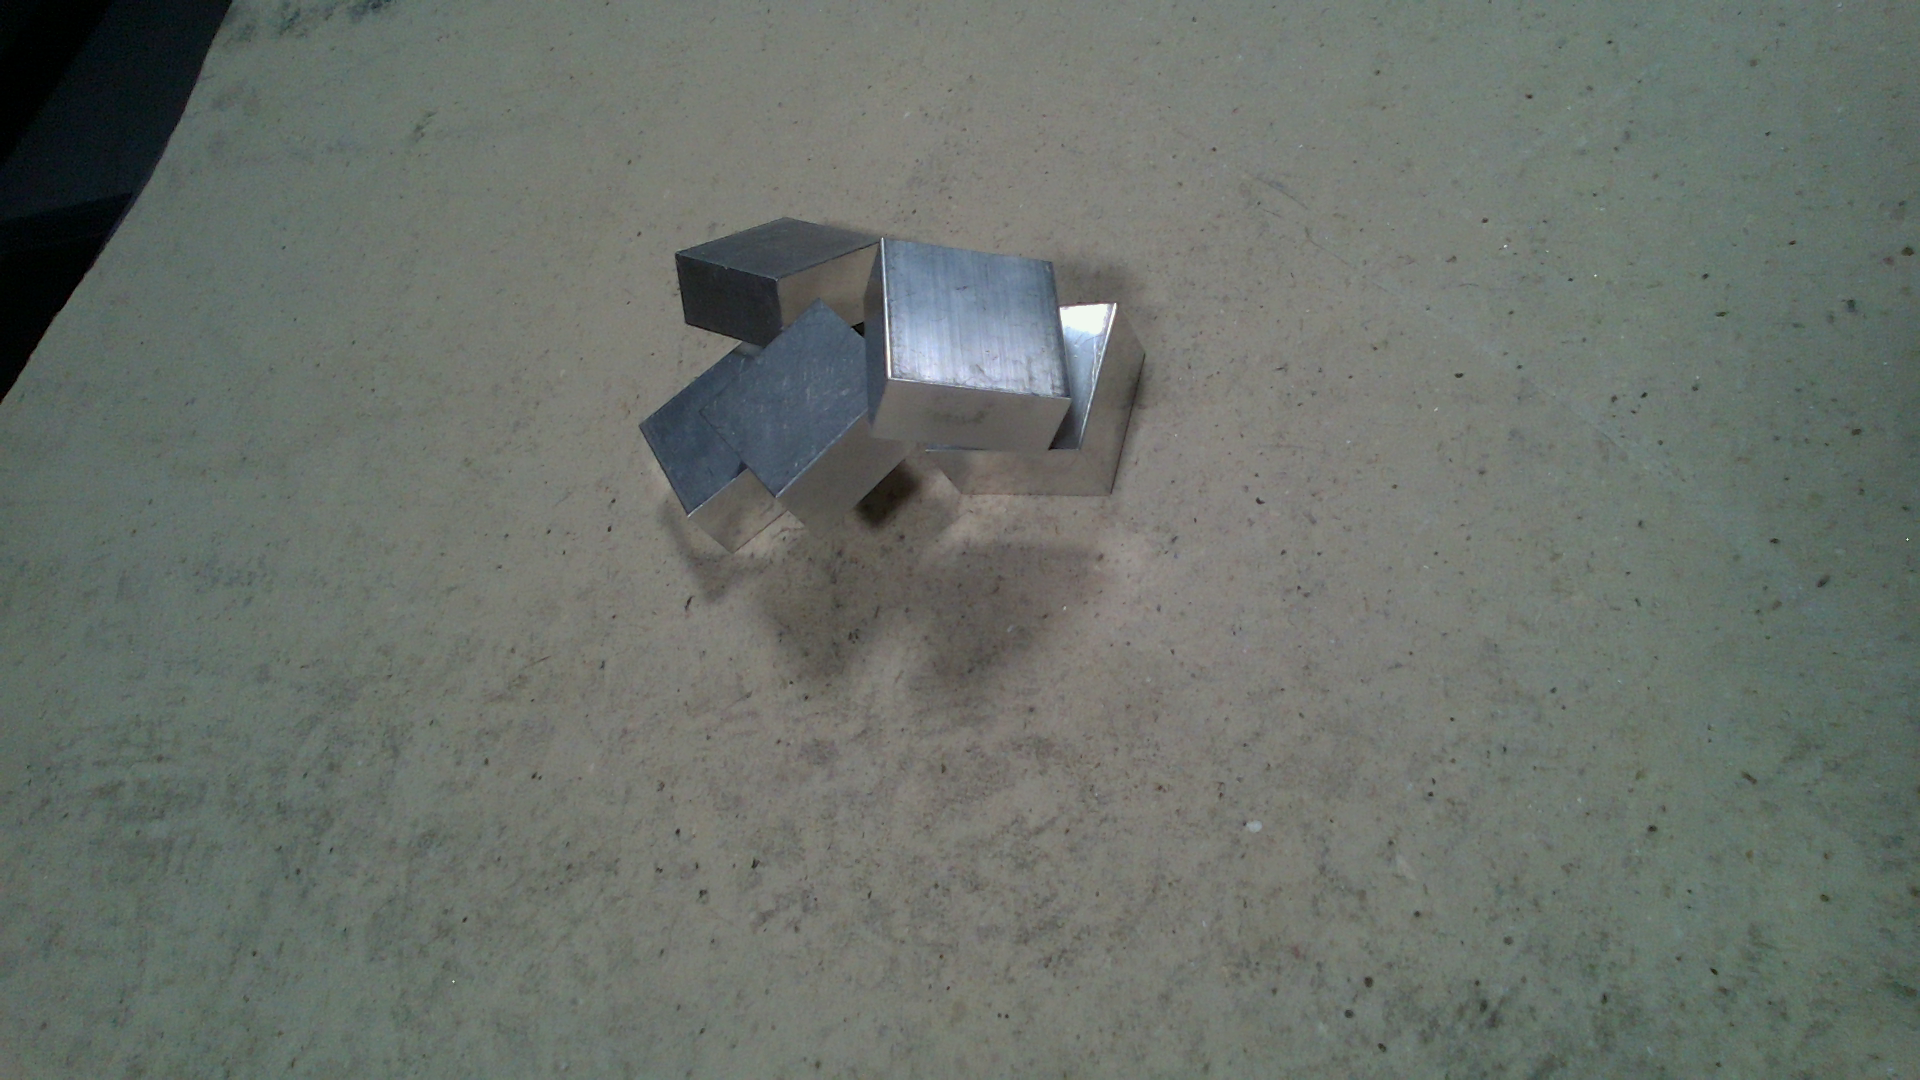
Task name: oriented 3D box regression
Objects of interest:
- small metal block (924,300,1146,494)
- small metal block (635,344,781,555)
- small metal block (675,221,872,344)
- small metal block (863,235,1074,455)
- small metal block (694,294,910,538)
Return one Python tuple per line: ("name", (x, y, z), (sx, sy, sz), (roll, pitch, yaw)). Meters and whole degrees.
("small metal block", (0.023, -0.042, 0.407), (0.050, 0.025, 0.050), (2, 62, 29))
("small metal block", (-0.073, -0.032, 0.453), (0.050, 0.025, 0.050), (-38, 51, 2))
("small metal block", (-0.059, -0.087, 0.465), (0.050, 0.025, 0.050), (20, 36, 36))
("small metal block", (0.001, -0.053, 0.378), (0.050, 0.025, 0.050), (5, 56, -14))
("small metal block", (-0.042, -0.037, 0.406), (0.050, 0.025, 0.050), (-44, 51, -2))
